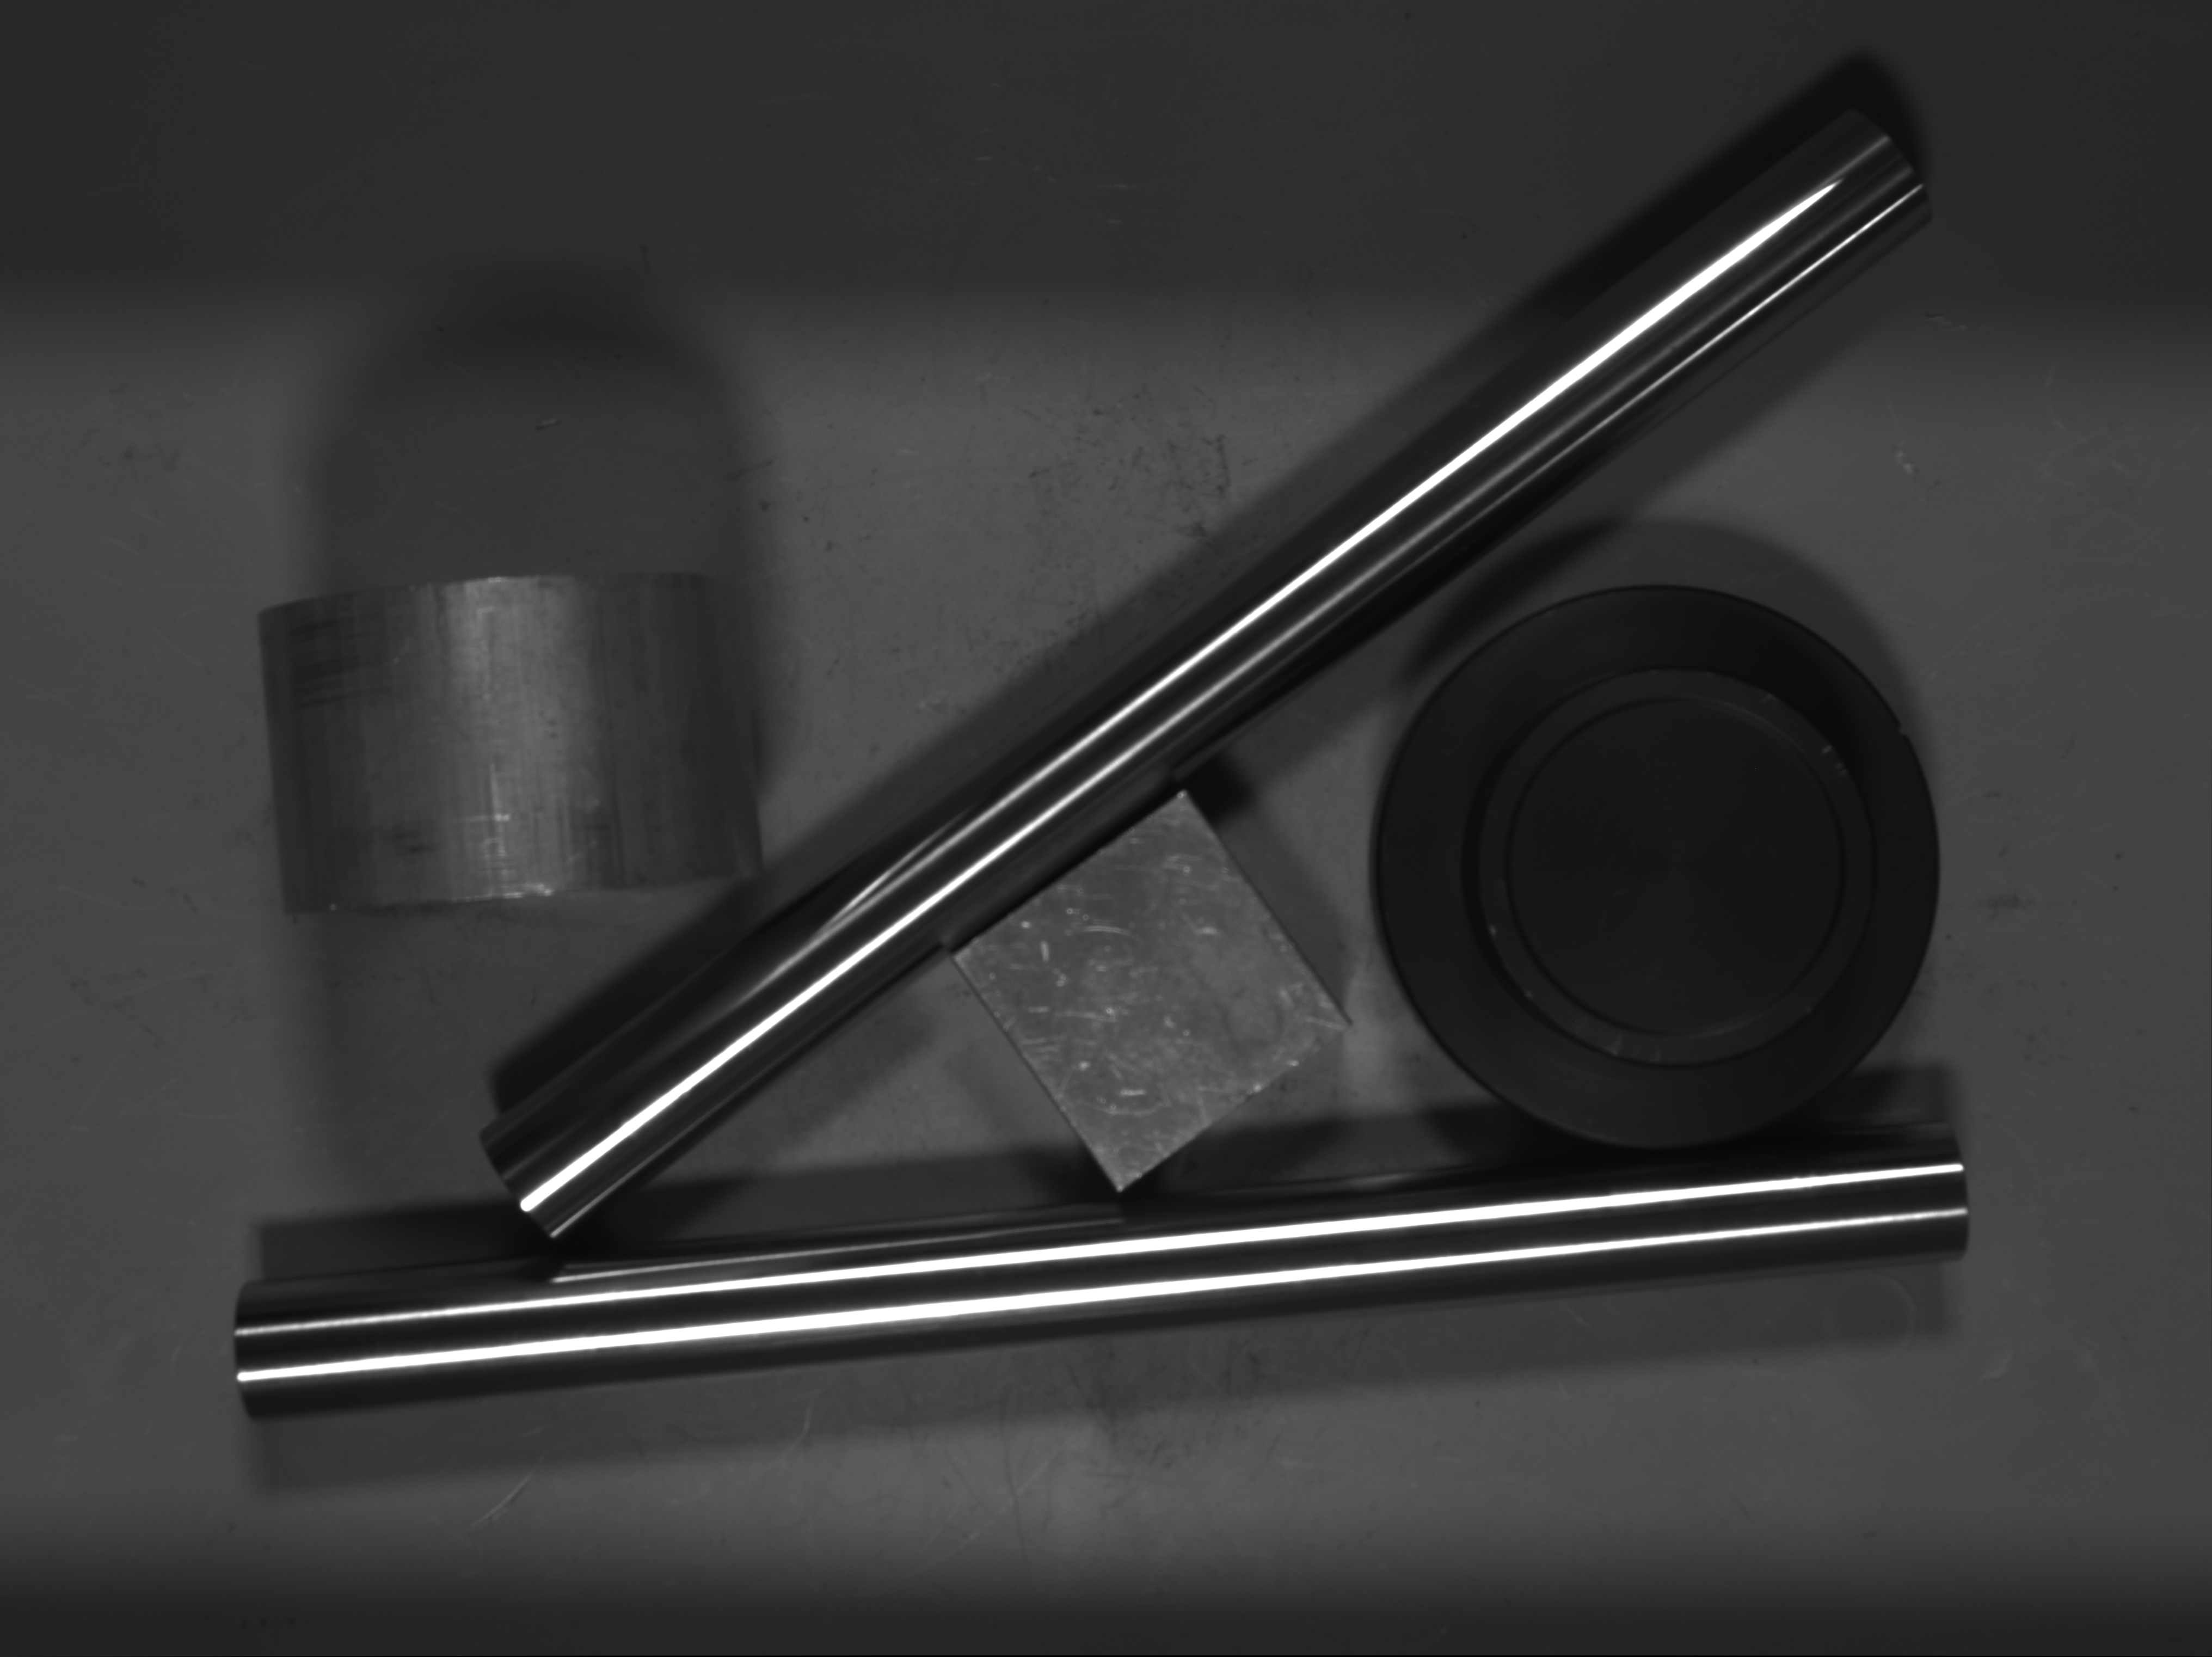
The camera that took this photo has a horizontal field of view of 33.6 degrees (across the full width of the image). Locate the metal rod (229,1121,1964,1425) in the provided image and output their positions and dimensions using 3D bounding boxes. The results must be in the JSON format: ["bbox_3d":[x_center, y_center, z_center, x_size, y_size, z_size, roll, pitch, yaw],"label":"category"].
[{"bbox_3d":[-0.001,0.078,0.644,0.300,0.025,0.025,-5,90,-1],"label":"metal rod"}]

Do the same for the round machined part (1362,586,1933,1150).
[{"bbox_3d":[0.095,0.007,0.635,0.098,0.042,0.098,0,90,0],"label":"round machined part"}]

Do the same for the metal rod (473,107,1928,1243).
[{"bbox_3d":[0.017,-0.027,0.644,0.300,0.025,0.025,-37,90,0],"label":"metal rod"}]

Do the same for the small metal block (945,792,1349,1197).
[{"bbox_3d":[0.007,0.029,0.643,0.050,0.025,0.050,-36,90,0],"label":"small metal block"}]

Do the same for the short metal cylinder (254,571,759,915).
[{"bbox_3d":[-0.100,-0.014,0.616,0.080,0.080,0.050,-5,90,0],"label":"short metal cylinder"}]
